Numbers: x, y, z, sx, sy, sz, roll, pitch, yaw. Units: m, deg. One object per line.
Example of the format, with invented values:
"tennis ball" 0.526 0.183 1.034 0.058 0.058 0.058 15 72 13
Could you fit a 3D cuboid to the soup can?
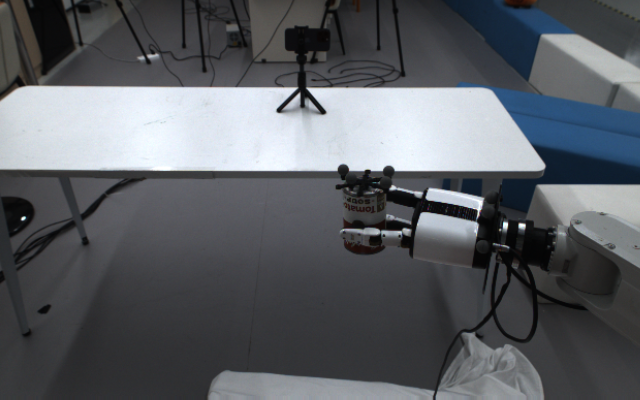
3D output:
"soup can" 0.070 0.022 0.740 0.067 0.101 0.067 -3 27 2
